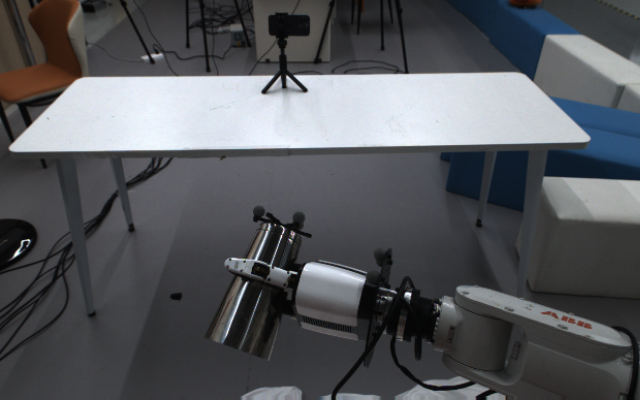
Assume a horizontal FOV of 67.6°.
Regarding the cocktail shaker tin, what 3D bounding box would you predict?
[{"bbox_3d":[-0.085,0.121,0.666,0.093,0.093,0.170,14,70,16],"label":"cocktail shaker tin"}]
